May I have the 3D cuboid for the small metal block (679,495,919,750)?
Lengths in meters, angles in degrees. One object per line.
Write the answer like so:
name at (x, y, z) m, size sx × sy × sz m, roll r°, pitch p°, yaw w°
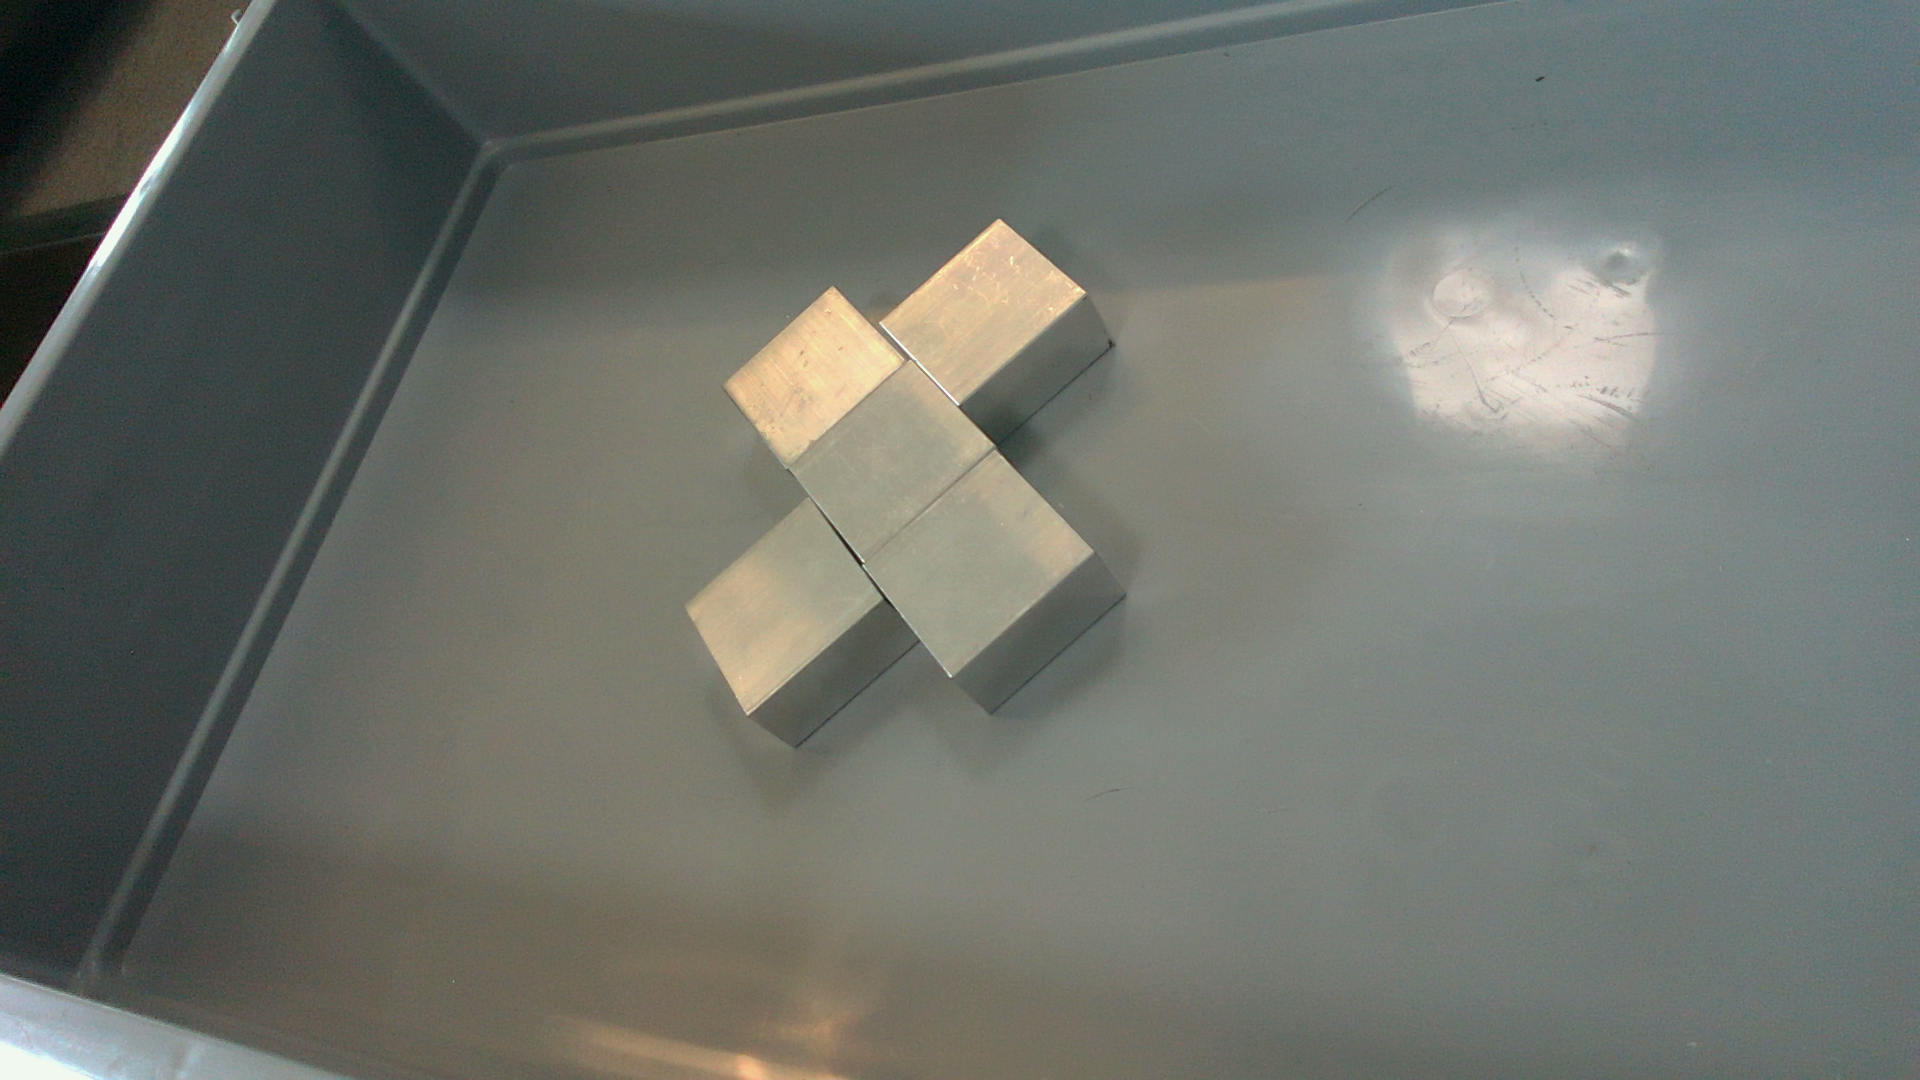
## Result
small metal block at (-0.047, 0.024, 0.403) m, size 0.050 × 0.025 × 0.050 m, roll -41°, pitch 51°, yaw 1°

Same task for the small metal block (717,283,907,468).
small metal block at (-0.043, -0.047, 0.444) m, size 0.050 × 0.025 × 0.050 m, roll -41°, pitch 51°, yaw 0°

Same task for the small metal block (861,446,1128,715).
small metal block at (0.009, 0.011, 0.380) m, size 0.050 × 0.025 × 0.050 m, roll -41°, pitch 51°, yaw 0°

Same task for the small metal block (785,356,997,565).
small metal block at (-0.016, -0.019, 0.411) m, size 0.050 × 0.025 × 0.050 m, roll -41°, pitch 51°, yaw 0°

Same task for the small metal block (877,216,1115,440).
small metal block at (0.011, -0.065, 0.426) m, size 0.050 × 0.025 × 0.050 m, roll -40°, pitch 51°, yaw -1°
